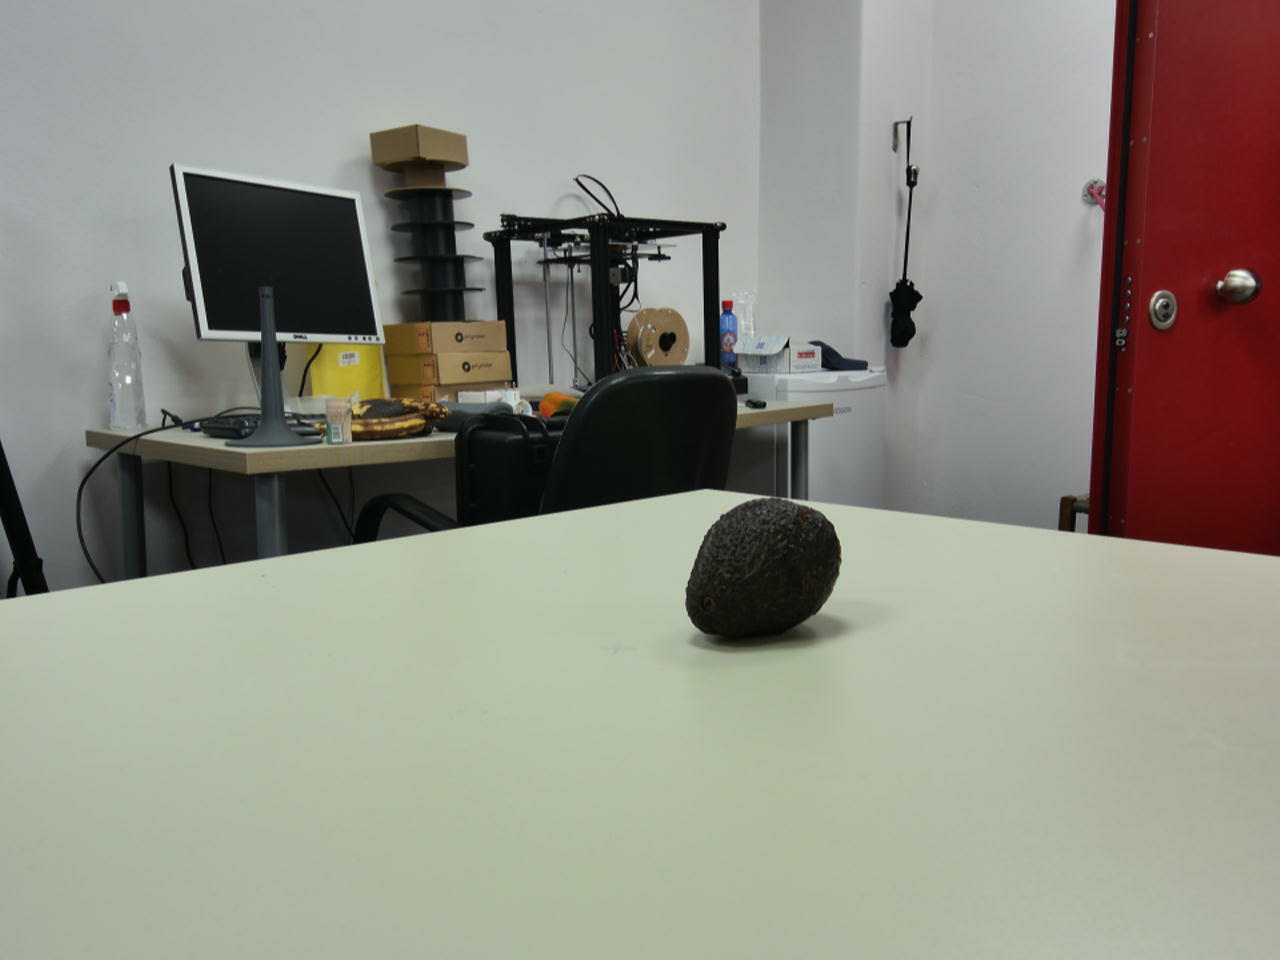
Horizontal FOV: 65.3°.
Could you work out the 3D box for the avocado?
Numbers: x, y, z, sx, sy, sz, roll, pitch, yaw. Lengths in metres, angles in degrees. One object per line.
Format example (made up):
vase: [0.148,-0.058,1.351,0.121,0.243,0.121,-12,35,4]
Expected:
avocado: [0.063,0.044,0.527,0.090,0.069,0.070,-1,5,-17]
